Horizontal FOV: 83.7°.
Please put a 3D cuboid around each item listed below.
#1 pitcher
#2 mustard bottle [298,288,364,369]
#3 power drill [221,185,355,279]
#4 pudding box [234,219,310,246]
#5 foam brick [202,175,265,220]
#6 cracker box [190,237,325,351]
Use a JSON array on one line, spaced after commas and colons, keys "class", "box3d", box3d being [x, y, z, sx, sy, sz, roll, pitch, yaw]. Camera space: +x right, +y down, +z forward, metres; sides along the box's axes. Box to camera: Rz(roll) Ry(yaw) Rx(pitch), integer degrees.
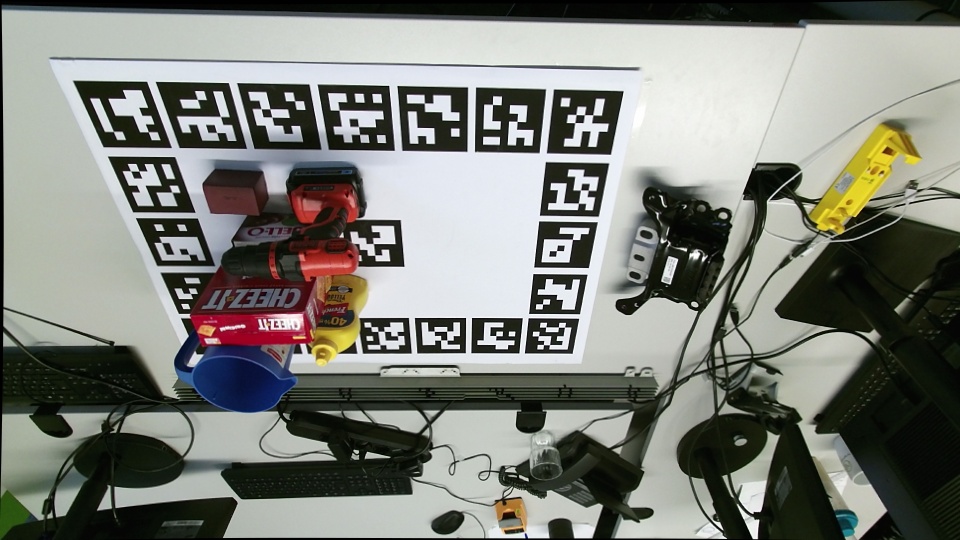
[{"class": "pitcher", "box3d": [-0.391, 0.113, 0.897, 0.189, 0.241, 0.133, 5, 125, -9]}, {"class": "mustard bottle", "box3d": [-0.258, 0.107, 0.914, 0.096, 0.190, 0.058, 12, 123, -11]}, {"class": "power drill", "box3d": [-0.265, -0.054, 0.773, 0.185, 0.186, 0.057, 0, 128, -2]}, {"class": "pudding box", "box3d": [-0.332, -0.044, 0.861, 0.114, 0.089, 0.038, 0, 127, -6]}, {"class": "foam brick", "box3d": [-0.388, -0.115, 0.847, 0.078, 0.051, 0.053, 3, 123, -4]}, {"class": "cracker box", "box3d": [-0.340, 0.027, 0.845, 0.165, 0.212, 0.072, -2, 127, -4]}]
